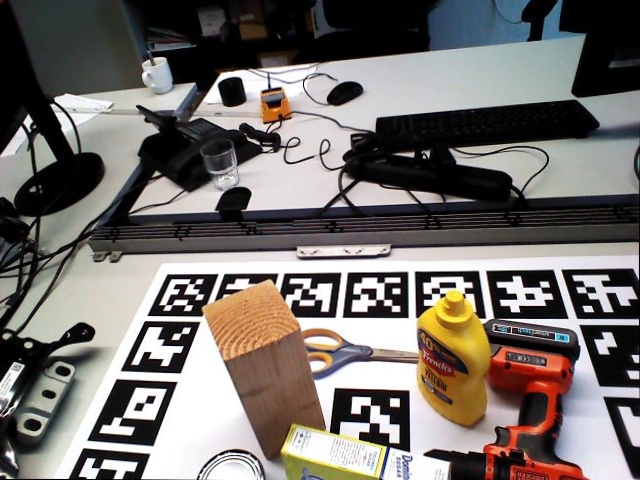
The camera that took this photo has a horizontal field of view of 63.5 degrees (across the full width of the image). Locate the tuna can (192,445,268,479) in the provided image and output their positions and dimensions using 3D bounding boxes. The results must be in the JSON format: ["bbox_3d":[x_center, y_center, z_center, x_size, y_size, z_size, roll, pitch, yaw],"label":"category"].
[{"bbox_3d":[-0.103,0.285,0.598,0.086,0.034,0.085,-7,42,6],"label":"tuna can"}]

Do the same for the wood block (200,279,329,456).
[{"bbox_3d":[-0.062,0.157,0.621,0.091,0.207,0.090,-22,43,-10],"label":"wood block"}]

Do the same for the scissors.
[{"bbox_3d":[0.043,0.150,0.732,0.204,0.016,0.087,-1,38,13],"label":"scissors"}]

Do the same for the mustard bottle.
[{"bbox_3d":[0.159,0.126,0.607,0.058,0.192,0.096,-30,45,-18],"label":"mustard bottle"}]

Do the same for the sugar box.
[{"bbox_3d":[0.057,0.254,0.554,0.177,0.093,0.045,7,41,19],"label":"sugar box"}]

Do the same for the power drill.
[{"bbox_3d":[0.210,0.202,0.599,0.185,0.057,0.185,7,51,22],"label":"power drill"}]
